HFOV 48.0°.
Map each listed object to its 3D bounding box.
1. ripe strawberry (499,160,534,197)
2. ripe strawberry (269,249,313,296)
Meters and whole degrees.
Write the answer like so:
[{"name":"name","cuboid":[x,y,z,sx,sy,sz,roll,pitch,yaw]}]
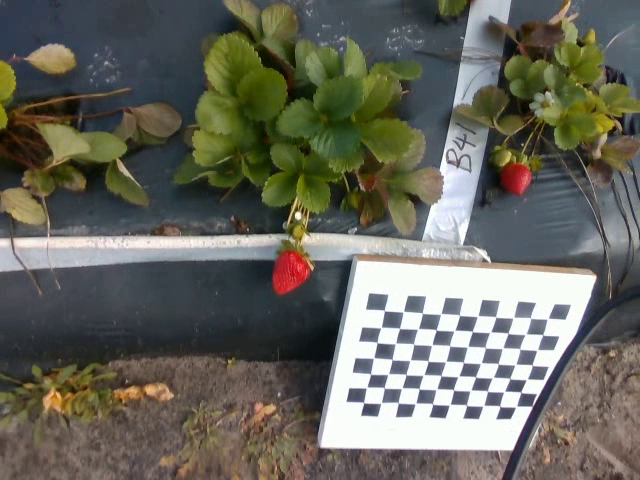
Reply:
[{"name":"ripe strawberry","cuboid":[0.212,-0.067,0.747,0.037,0.048,0.031,17,-29,-17]},{"name":"ripe strawberry","cuboid":[-0.031,0.036,0.710,0.047,0.053,0.030,42,-10,-27]}]
